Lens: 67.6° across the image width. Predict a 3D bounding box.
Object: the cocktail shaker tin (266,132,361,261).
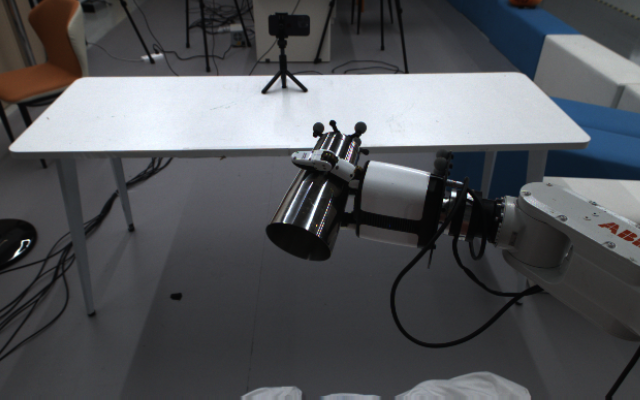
[{"bbox_3d":[-0.002,-0.013,0.670,0.093,0.093,0.170,14,57,16],"label":"cocktail shaker tin"}]
